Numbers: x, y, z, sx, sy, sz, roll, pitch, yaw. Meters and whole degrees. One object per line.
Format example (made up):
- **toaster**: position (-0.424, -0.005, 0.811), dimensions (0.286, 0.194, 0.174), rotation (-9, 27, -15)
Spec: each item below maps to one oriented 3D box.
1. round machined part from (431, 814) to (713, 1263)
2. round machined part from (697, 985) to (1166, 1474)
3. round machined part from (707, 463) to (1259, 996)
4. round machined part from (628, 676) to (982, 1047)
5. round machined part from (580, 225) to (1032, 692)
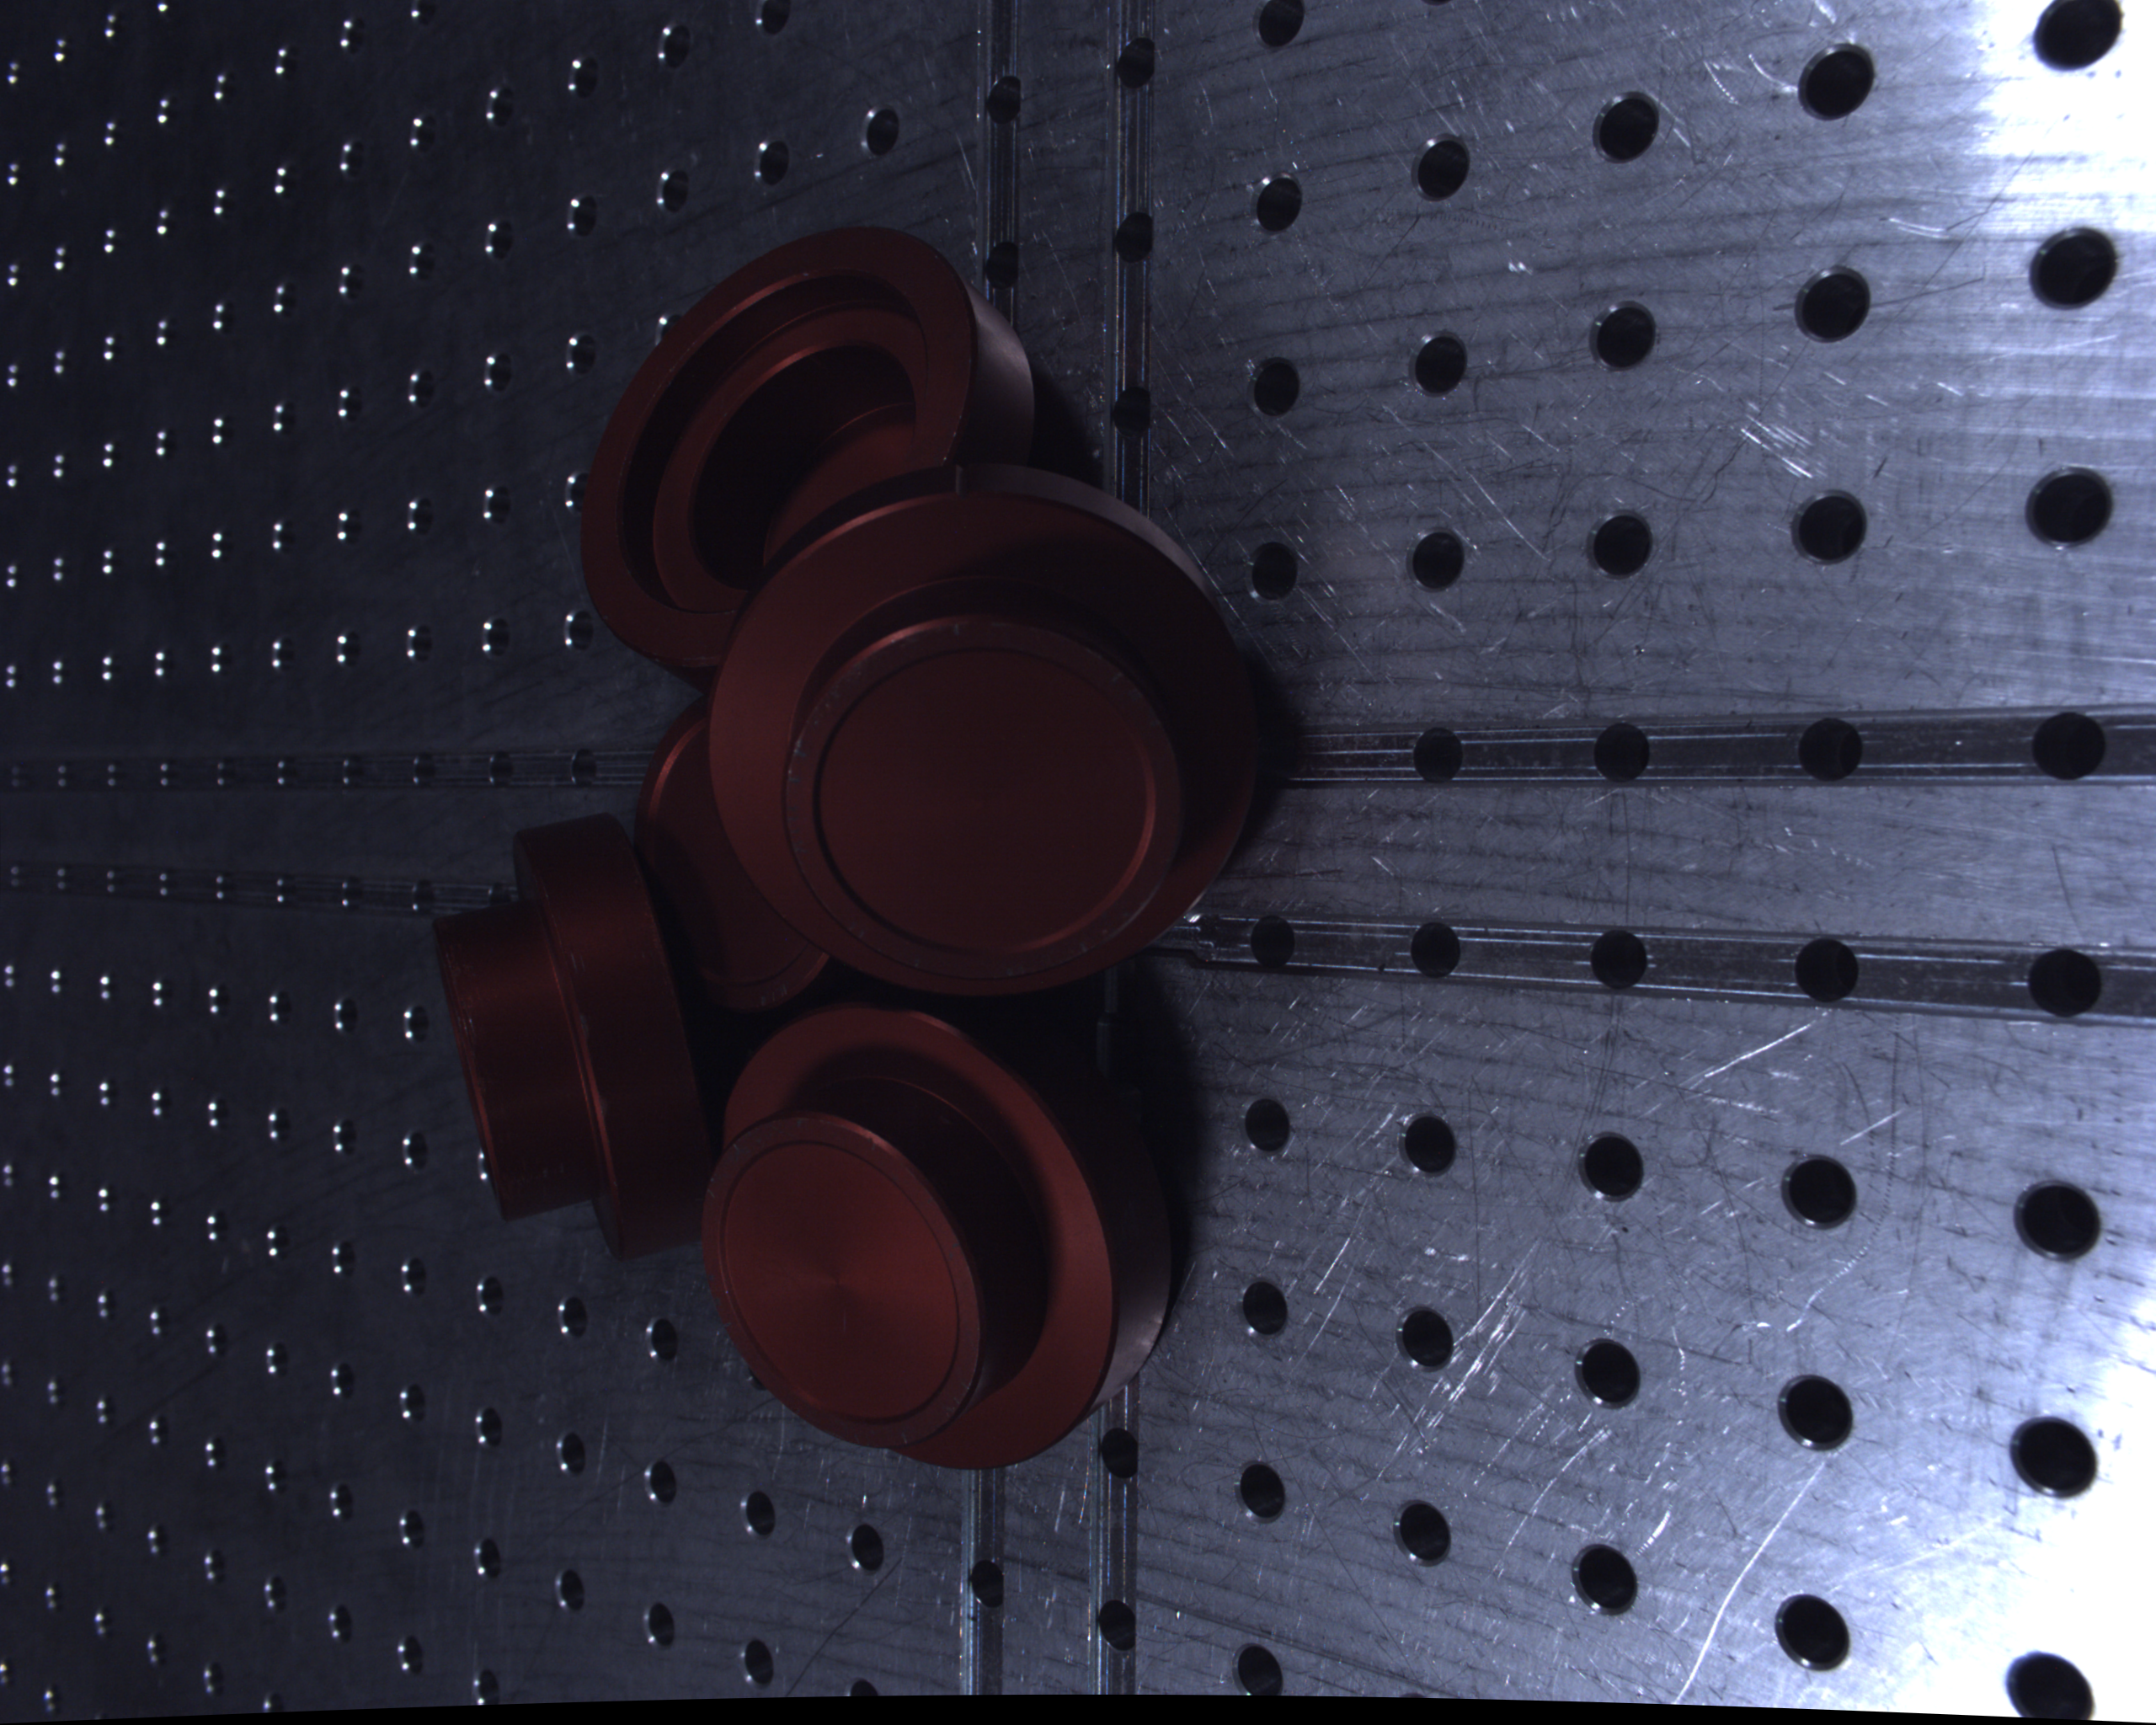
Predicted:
- **round machined part**: position (-0.113, 0.041, 0.458), dimensions (0.098, 0.042, 0.097), rotation (167, 90, -70)
- **round machined part**: position (-0.035, 0.074, 0.409), dimensions (0.098, 0.042, 0.097), rotation (9, 106, 32)
- **round machined part**: position (-0.017, -0.018, 0.372), dimensions (0.042, 0.099, 0.097), rotation (-99, 34, -65)
- **round machined part**: position (-0.058, -0.003, 0.442), dimensions (0.098, 0.042, 0.097), rotation (0, 90, 39)
- **round machined part**: position (-0.050, -0.076, 0.423), dimensions (0.098, 0.042, 0.098), rotation (-14, 62, 28)
